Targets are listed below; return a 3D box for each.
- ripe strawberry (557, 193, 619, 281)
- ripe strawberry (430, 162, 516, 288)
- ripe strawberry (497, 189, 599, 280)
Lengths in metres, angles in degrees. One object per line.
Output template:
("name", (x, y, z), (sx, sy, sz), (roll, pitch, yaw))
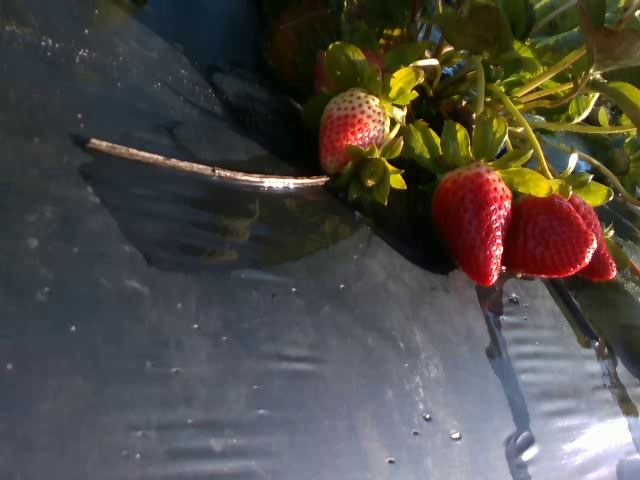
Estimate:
("ripe strawberry", (0.103, 0.003, 0.231), (0.035, 0.034, 0.041), (7, 32, -36))
("ripe strawberry", (0.055, -0.006, 0.199), (0.031, 0.046, 0.023), (11, -25, -35))
("ripe strawberry", (0.082, -0.002, 0.211), (0.030, 0.037, 0.039), (24, 9, -33))
